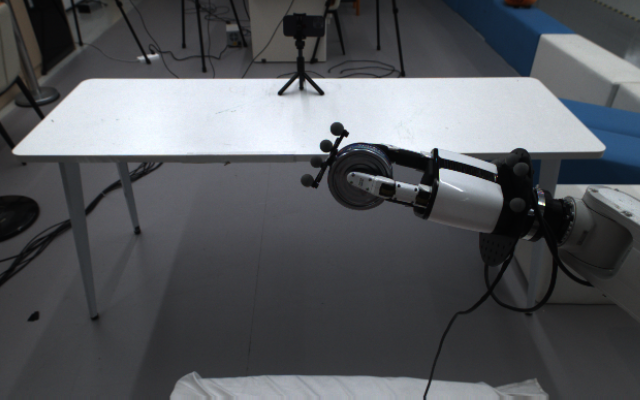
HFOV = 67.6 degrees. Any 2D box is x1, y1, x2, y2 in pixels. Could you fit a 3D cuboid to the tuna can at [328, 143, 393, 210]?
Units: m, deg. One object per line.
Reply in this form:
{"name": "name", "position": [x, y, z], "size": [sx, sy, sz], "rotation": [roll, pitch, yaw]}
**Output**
{"name": "tuna can", "position": [0.056, -0.033, 0.639], "size": [0.085, 0.085, 0.034], "rotation": [3, 20, 1]}
